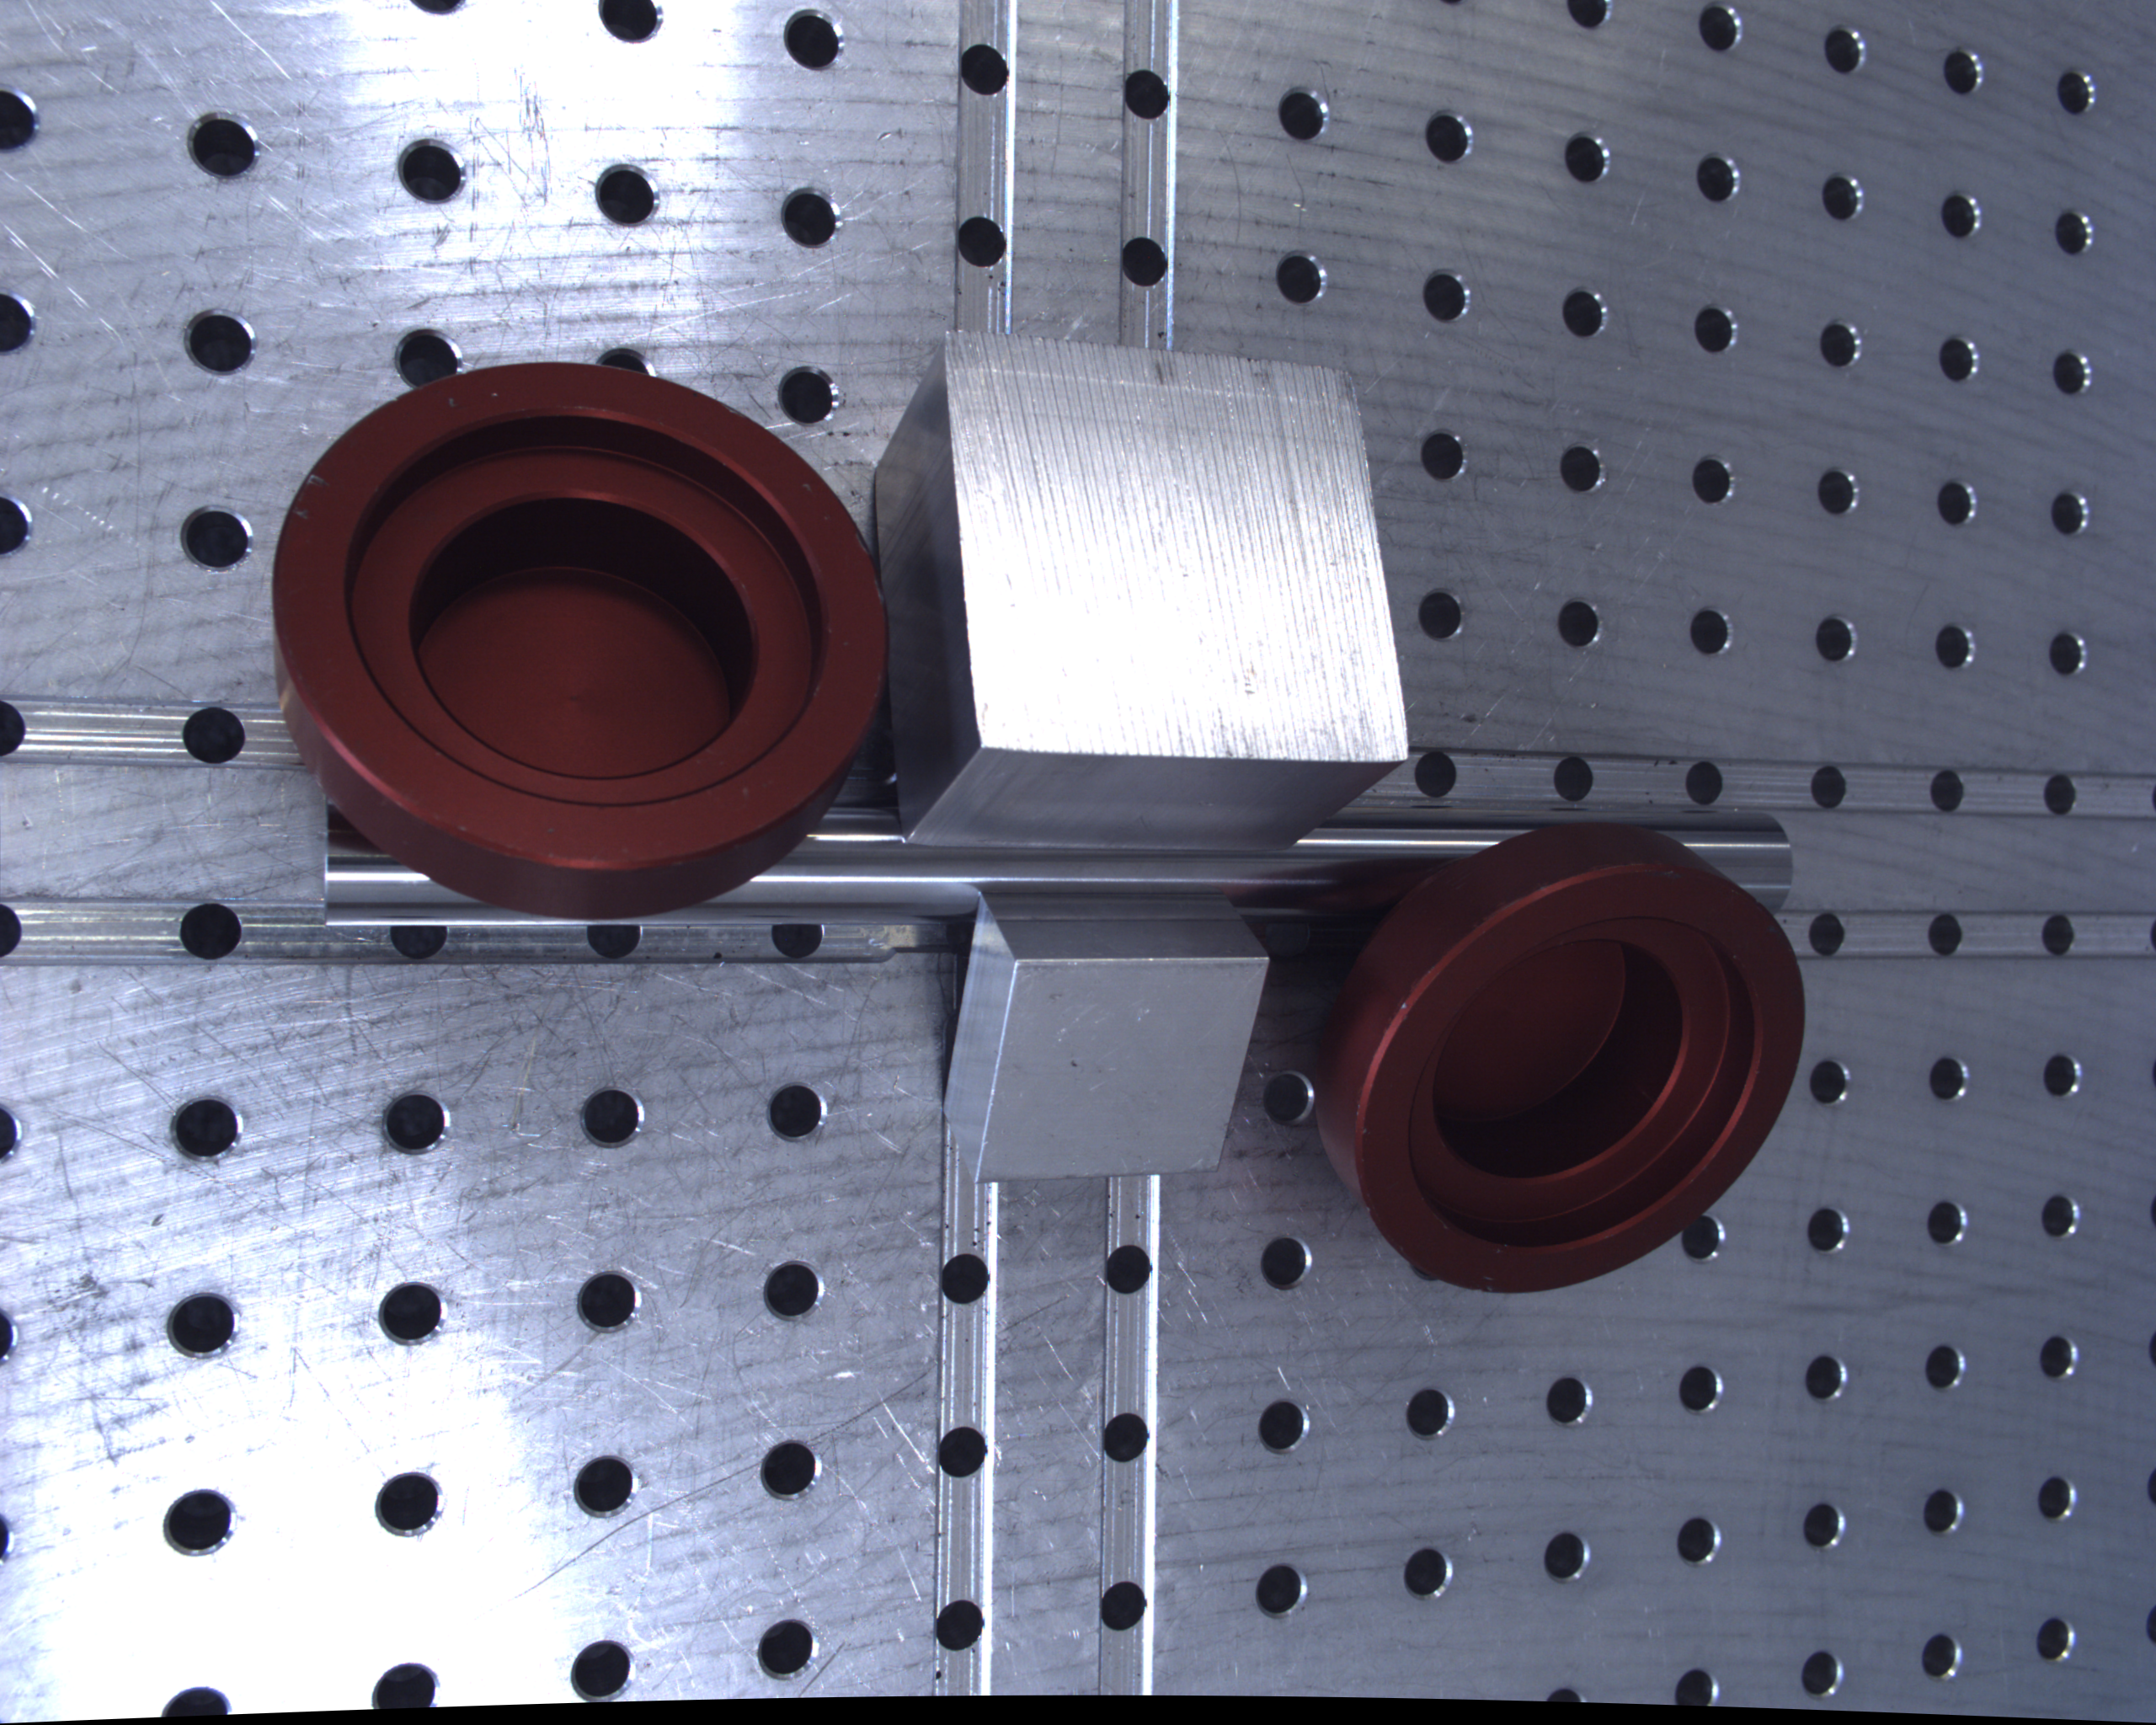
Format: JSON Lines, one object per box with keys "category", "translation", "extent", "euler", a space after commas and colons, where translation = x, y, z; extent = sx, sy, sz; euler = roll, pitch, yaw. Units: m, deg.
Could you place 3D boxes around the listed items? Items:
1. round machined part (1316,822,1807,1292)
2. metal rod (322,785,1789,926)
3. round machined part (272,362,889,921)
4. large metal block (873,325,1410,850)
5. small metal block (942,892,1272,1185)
{"category": "round machined part", "translation": [0.094, 0.036, 0.425], "extent": [0.099, 0.042, 0.097], "euler": [-8, 118, -16]}
{"category": "metal rod", "translation": [0.010, 0.000, 0.417], "extent": [0.302, 0.025, 0.025], "euler": [0, 90, -20]}
{"category": "round machined part", "translation": [-0.085, -0.034, 0.358], "extent": [0.099, 0.042, 0.098], "euler": [9, 61, -16]}
{"category": "large metal block", "translation": [0.009, -0.048, 0.391], "extent": [0.081, 0.050, 0.080], "euler": [1, 72, -20]}
{"category": "small metal block", "translation": [0.005, 0.034, 0.404], "extent": [0.050, 0.025, 0.050], "euler": [1, 119, -20]}
